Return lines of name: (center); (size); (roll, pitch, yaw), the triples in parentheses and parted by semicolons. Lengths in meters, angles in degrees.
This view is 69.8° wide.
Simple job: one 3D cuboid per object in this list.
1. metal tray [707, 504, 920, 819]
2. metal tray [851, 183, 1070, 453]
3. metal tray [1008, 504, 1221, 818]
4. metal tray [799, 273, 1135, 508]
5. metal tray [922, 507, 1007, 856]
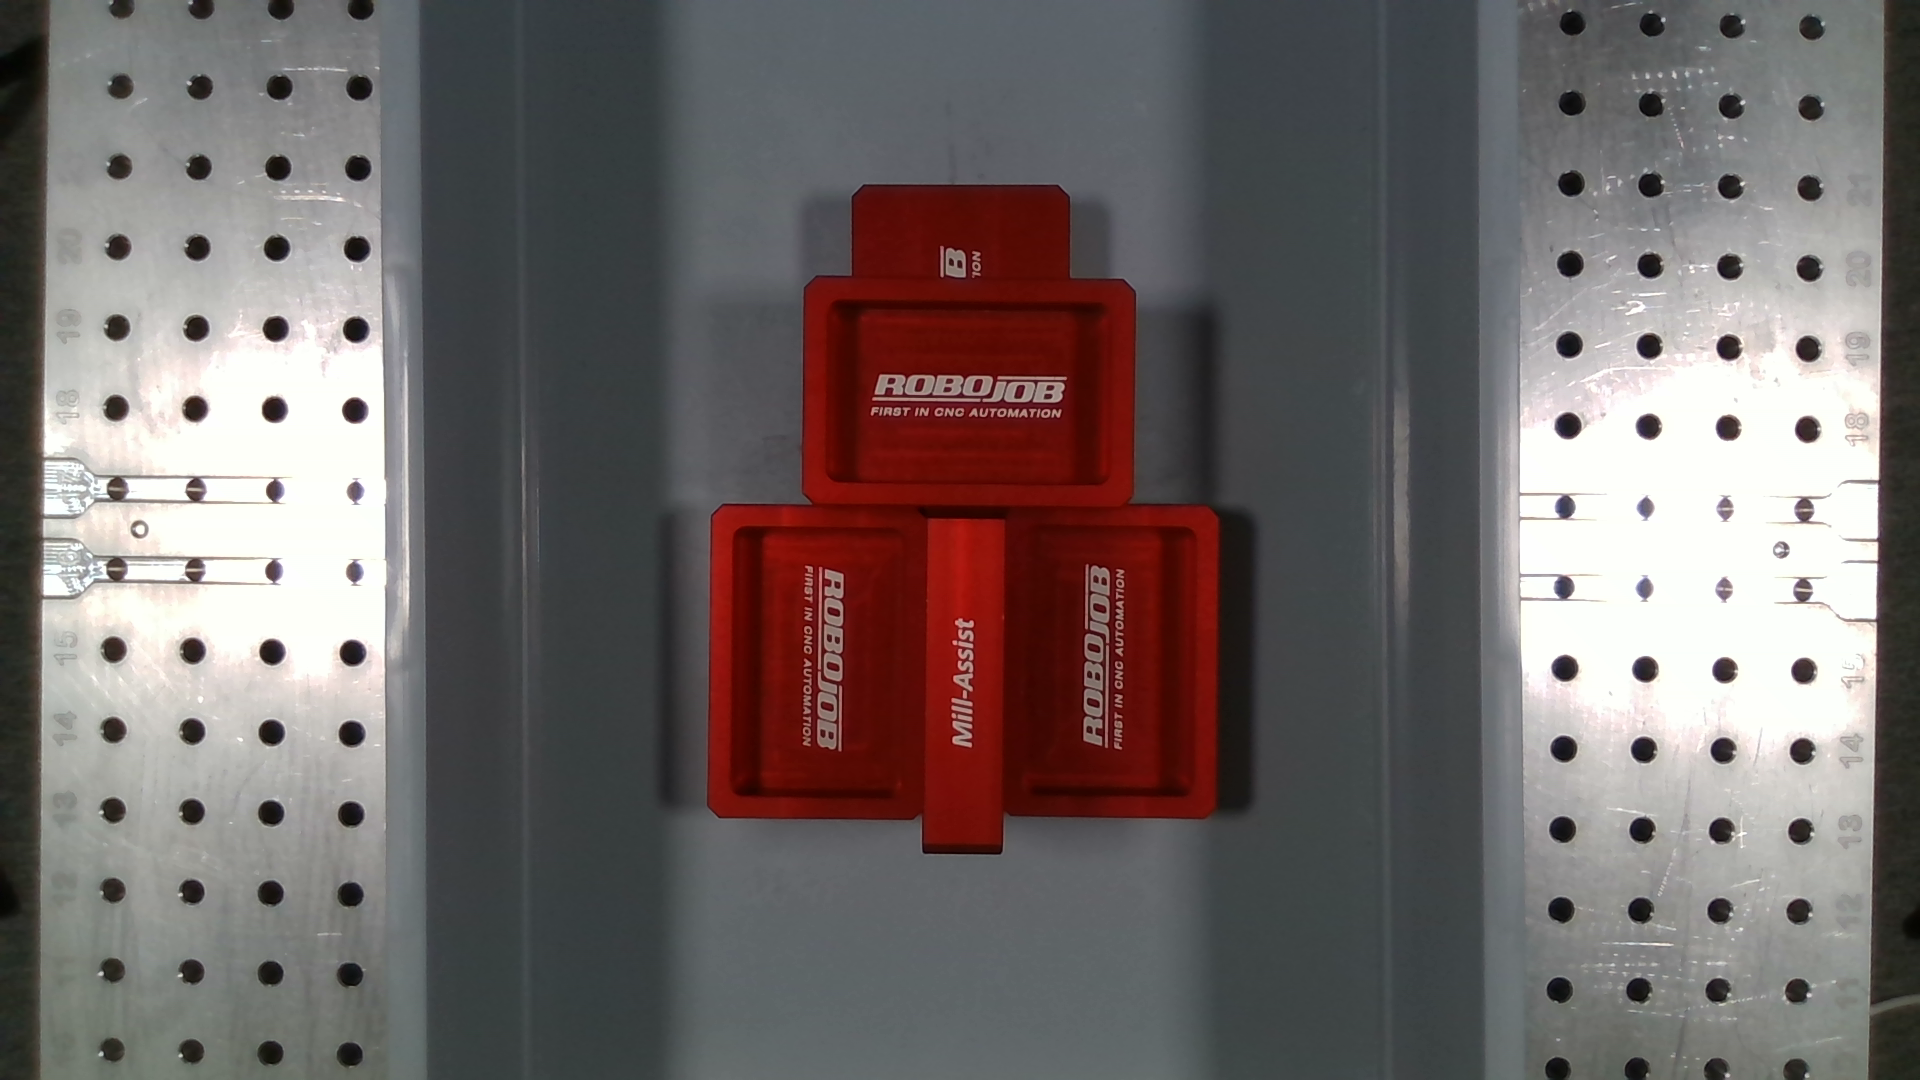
metal tray: (-0.059, 0.050, 0.584); (0.090, 0.030, 0.130); (1, 91, 0)
metal tray: (0.000, -0.082, 0.581); (0.090, 0.030, 0.130); (0, 91, 0)
metal tray: (0.062, 0.050, 0.584); (0.090, 0.030, 0.130); (1, 91, 0)
metal tray: (0.003, -0.058, 0.552); (0.130, 0.030, 0.090); (1, 90, 0)
metal tray: (0.002, 0.053, 0.553); (0.030, 0.090, 0.130); (1, 90, 0)
